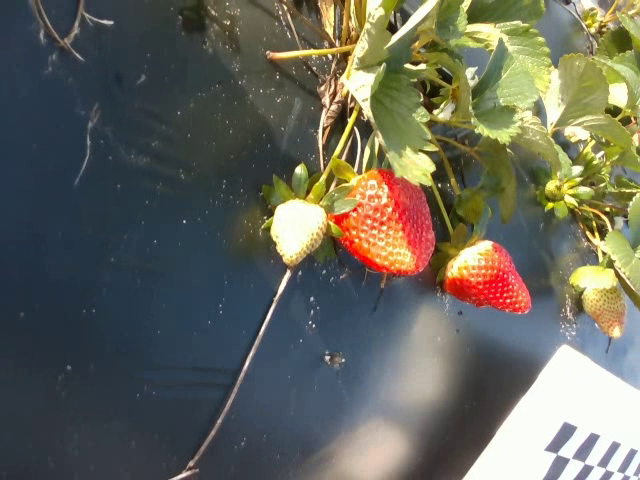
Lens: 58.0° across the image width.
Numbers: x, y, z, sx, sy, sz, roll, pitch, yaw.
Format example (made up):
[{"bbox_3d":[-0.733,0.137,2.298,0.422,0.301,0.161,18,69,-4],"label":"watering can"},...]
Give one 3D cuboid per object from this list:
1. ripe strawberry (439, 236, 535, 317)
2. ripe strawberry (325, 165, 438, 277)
[{"bbox_3d":[0.071,0.016,0.224,0.037,0.039,0.033,-41,-30,6],"label":"ripe strawberry"},{"bbox_3d":[0.024,-0.005,0.177,0.035,0.036,0.041,11,-47,-33],"label":"ripe strawberry"}]
